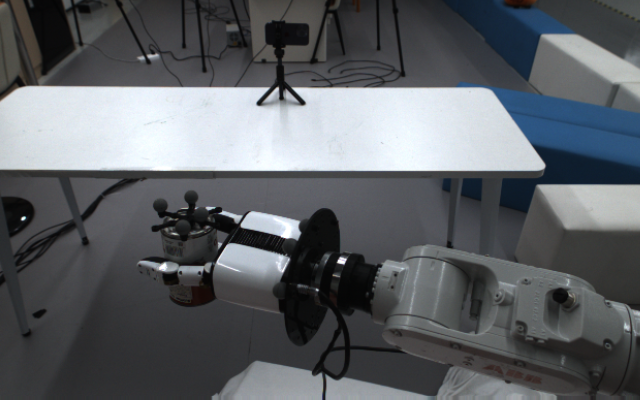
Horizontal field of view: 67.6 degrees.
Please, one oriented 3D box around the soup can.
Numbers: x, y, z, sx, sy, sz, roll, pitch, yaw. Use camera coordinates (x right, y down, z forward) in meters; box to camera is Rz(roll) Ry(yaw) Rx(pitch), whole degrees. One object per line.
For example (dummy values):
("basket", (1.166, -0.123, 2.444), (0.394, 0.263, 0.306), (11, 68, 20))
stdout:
("soup can", (-0.159, 0.075, 0.609), (0.067, 0.101, 0.067), (1, 25, 0))
